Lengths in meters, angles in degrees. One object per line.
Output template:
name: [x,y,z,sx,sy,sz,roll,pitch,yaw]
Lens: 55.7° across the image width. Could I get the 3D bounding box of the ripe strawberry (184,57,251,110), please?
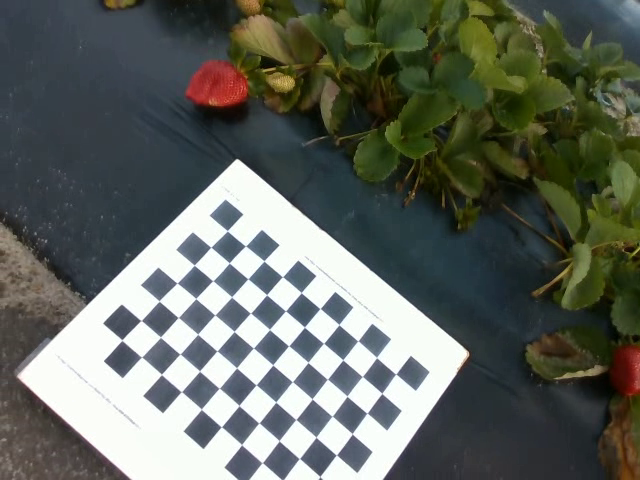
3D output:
ripe strawberry: [-0.115,-0.172,0.672,0.074,0.067,0.039,-44,-9,-23]
